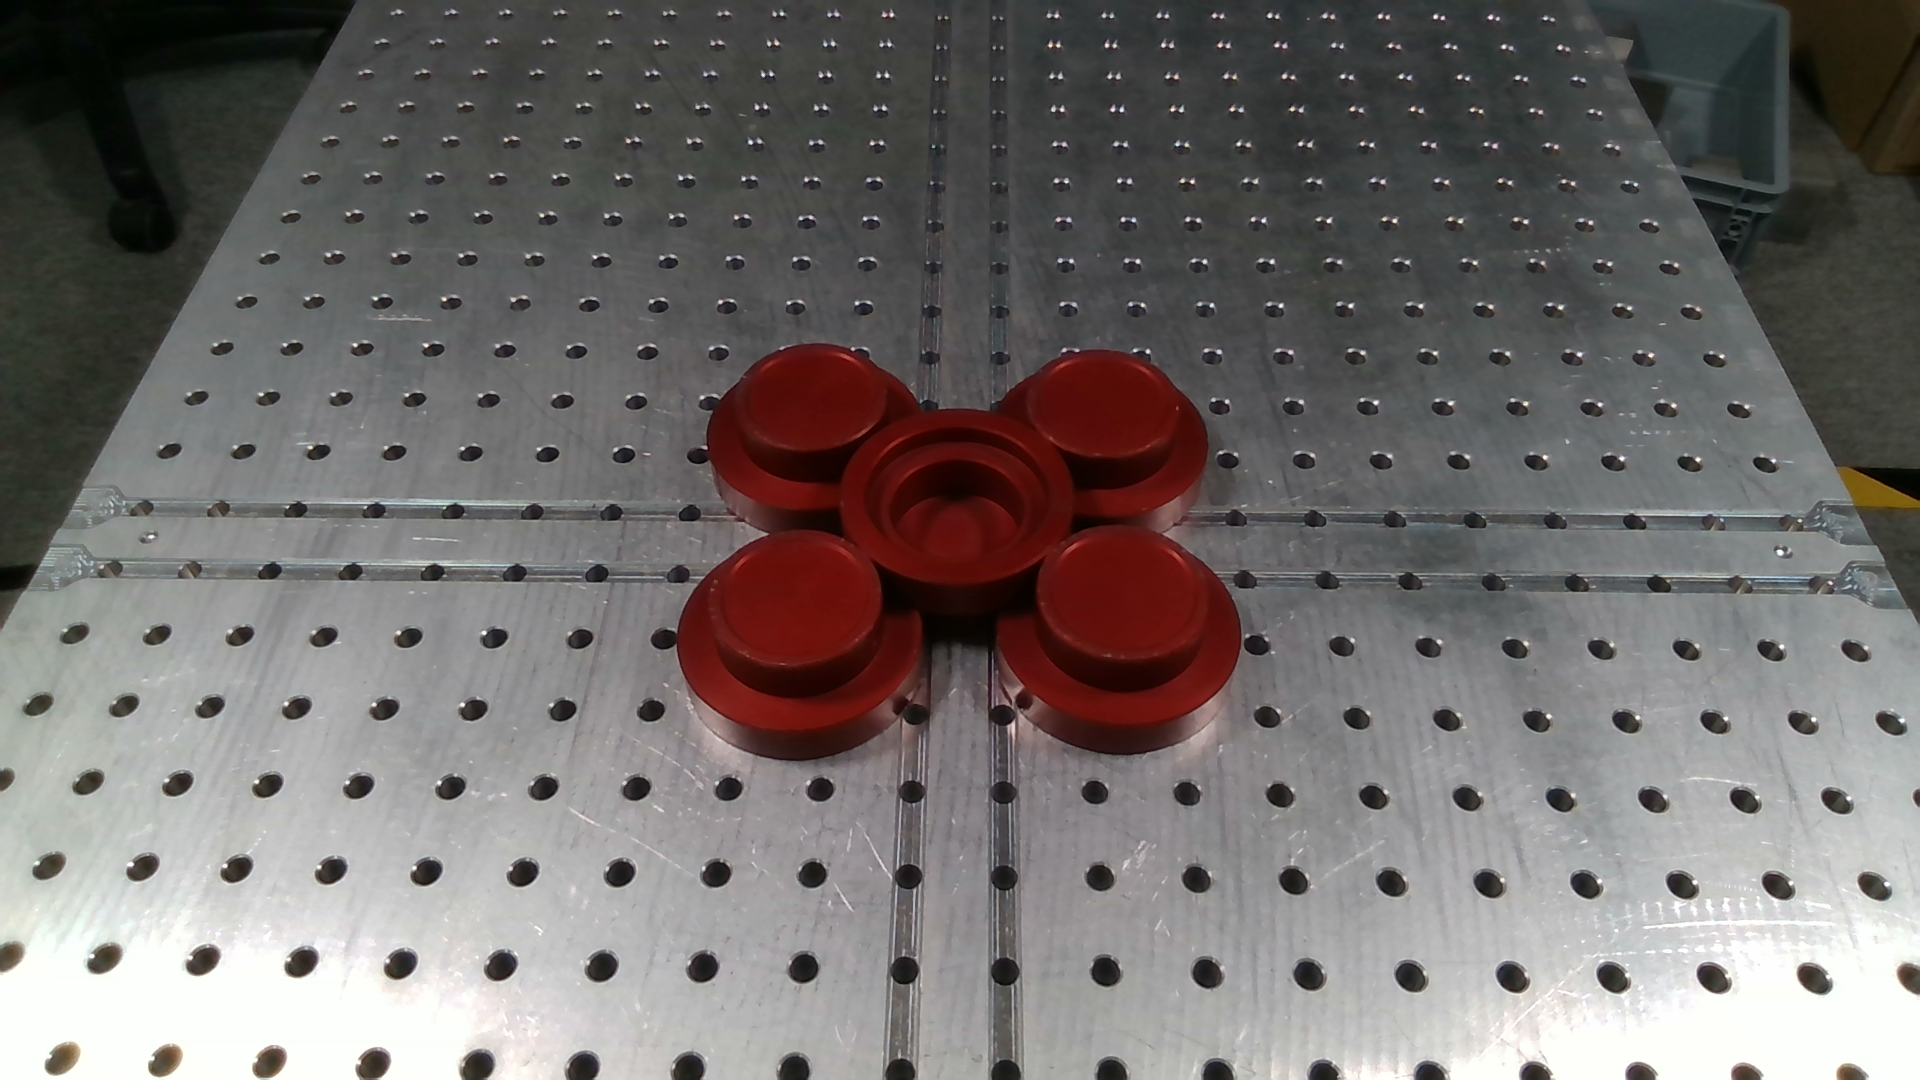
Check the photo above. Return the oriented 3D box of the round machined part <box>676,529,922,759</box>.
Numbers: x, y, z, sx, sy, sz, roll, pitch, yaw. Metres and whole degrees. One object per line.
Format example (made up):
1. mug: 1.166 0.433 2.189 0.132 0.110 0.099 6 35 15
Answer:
1. round machined part: -0.064 0.035 0.549 0.098 0.042 0.098 0 50 0

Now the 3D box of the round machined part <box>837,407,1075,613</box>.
1. round machined part: -0.001 -0.008 0.583 0.098 0.042 0.098 0 50 0

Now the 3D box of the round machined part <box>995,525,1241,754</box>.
1. round machined part: 0.063 0.033 0.551 0.098 0.042 0.098 0 50 0

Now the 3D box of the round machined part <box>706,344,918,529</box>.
1. round machined part: -0.066 -0.050 0.622 0.098 0.042 0.098 0 50 0

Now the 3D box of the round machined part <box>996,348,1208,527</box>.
1. round machined part: 0.062 -0.048 0.618 0.098 0.042 0.098 0 50 0
